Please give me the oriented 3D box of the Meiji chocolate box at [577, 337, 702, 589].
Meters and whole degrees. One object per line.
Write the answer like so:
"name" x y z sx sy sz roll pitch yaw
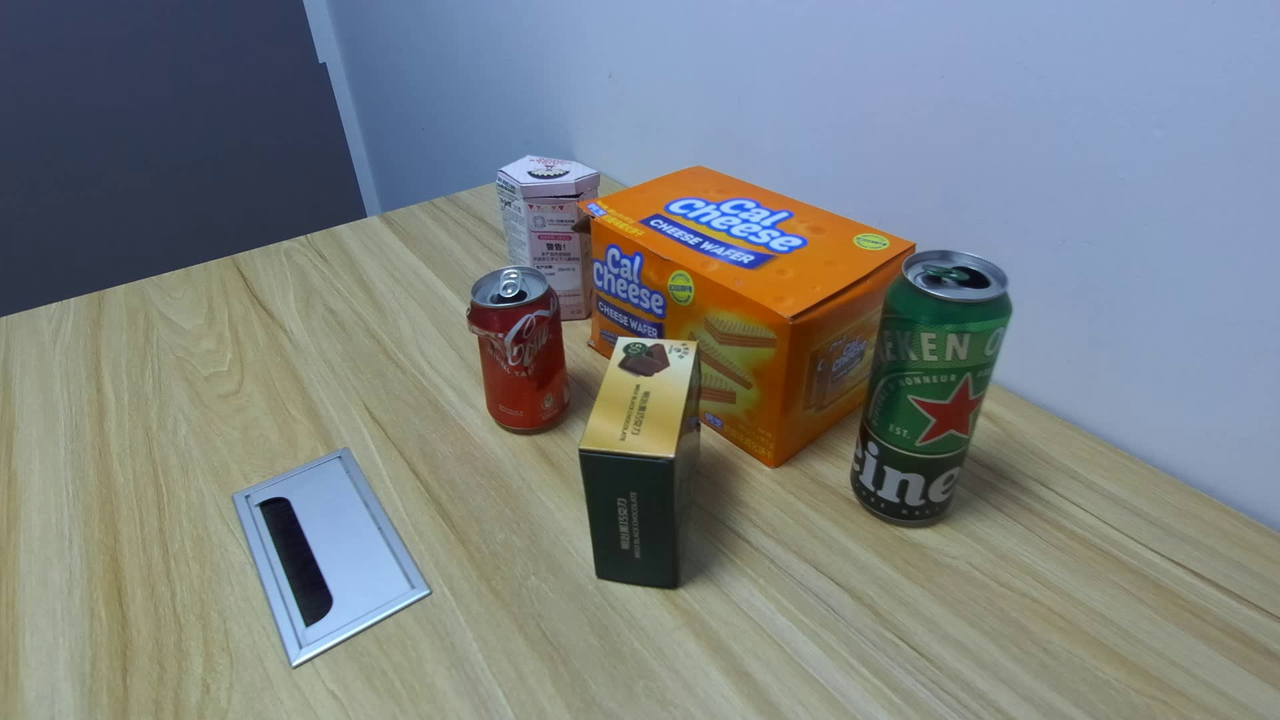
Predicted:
"Meiji chocolate box" 0.005 0.060 0.433 0.056 0.109 0.110 4 36 10

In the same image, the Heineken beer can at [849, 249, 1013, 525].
"Heineken beer can" 0.172 0.022 0.428 0.067 0.169 0.067 -2 36 1

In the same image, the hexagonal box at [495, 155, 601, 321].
"hexagonal box" -0.076 -0.112 0.651 0.092 0.135 0.085 -2 36 2

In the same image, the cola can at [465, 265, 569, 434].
"cola can" -0.090 -0.008 0.530 0.066 0.117 0.066 24 43 33

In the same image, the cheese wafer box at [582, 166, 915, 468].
"cheese wafer box" 0.073 -0.051 0.559 0.150 0.137 0.226 -29 44 -31
